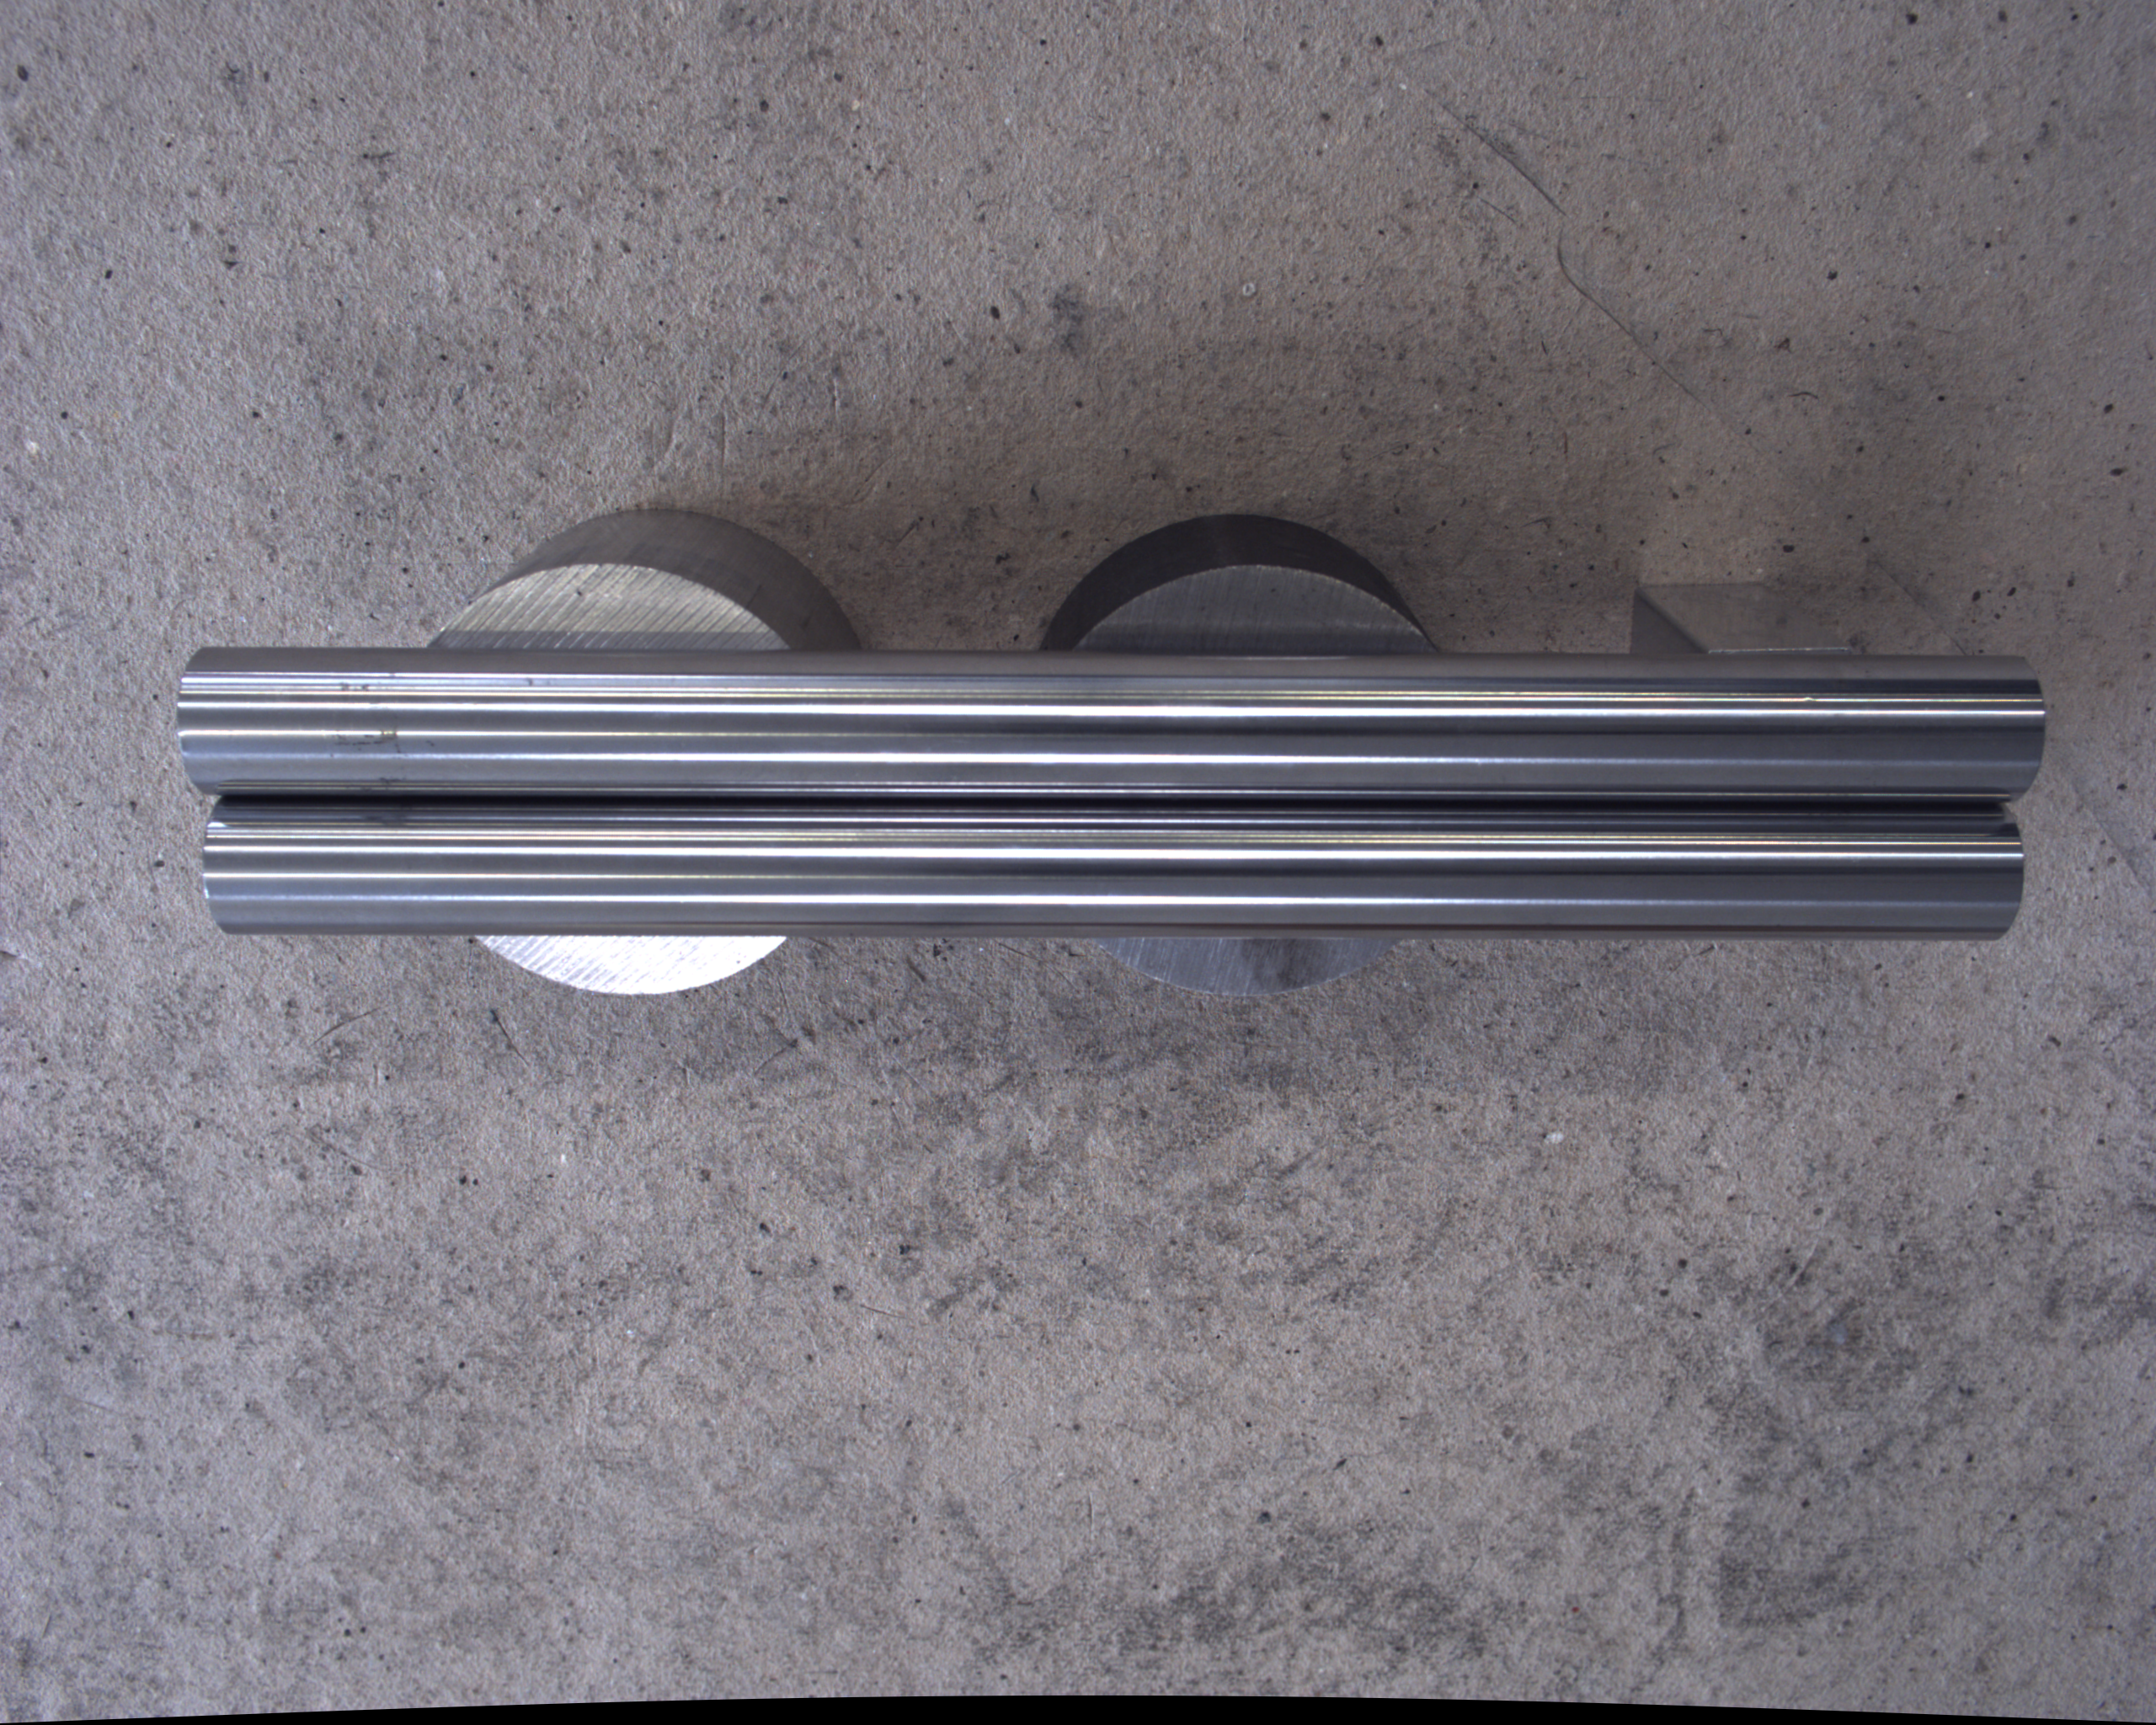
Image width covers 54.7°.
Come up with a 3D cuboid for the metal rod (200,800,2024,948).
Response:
[{"bbox_3d":[0.006,0.002,0.358,0.302,0.025,0.025,0,110,-1],"label":"metal rod"}]

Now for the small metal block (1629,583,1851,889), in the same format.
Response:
[{"bbox_3d":[0.121,-0.022,0.392,0.025,0.050,0.050,-2,110,0],"label":"small metal block"}]

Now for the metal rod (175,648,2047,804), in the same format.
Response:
[{"bbox_3d":[0.006,-0.023,0.349,0.302,0.025,0.025,0,110,-1],"label":"metal rod"}]

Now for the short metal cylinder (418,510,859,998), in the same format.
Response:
[{"bbox_3d":[-0.080,-0.021,0.388,0.081,0.050,0.079,0,110,0],"label":"short metal cylinder"}]

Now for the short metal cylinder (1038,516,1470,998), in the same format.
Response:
[{"bbox_3d":[0.030,-0.021,0.391,0.081,0.050,0.079,0,110,0],"label":"short metal cylinder"}]
